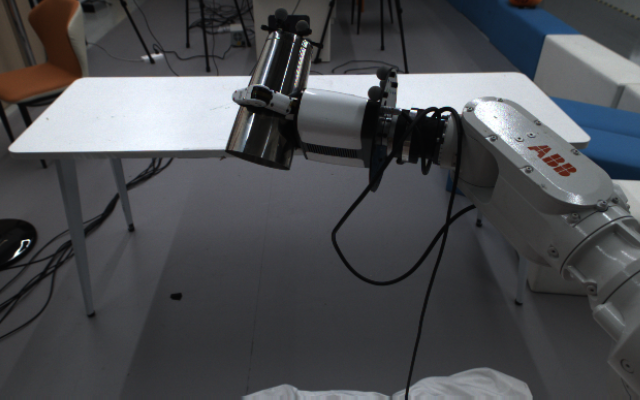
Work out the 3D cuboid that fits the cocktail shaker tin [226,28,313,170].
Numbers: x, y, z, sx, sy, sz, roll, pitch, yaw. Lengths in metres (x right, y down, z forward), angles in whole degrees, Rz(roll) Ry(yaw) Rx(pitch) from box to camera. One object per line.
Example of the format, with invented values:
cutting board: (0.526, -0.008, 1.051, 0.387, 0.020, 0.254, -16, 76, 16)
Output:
cocktail shaker tin: (-0.062, -0.135, 0.658, 0.093, 0.170, 0.093, 15, -4, 1)
